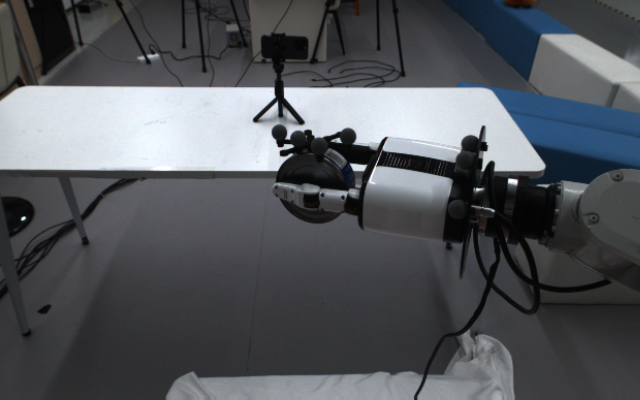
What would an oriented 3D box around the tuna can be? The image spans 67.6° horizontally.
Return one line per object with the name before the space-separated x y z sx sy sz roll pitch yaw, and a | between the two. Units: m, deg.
tuna can | -0.003 -0.021 0.548 0.085 0.085 0.034 13 29 16
